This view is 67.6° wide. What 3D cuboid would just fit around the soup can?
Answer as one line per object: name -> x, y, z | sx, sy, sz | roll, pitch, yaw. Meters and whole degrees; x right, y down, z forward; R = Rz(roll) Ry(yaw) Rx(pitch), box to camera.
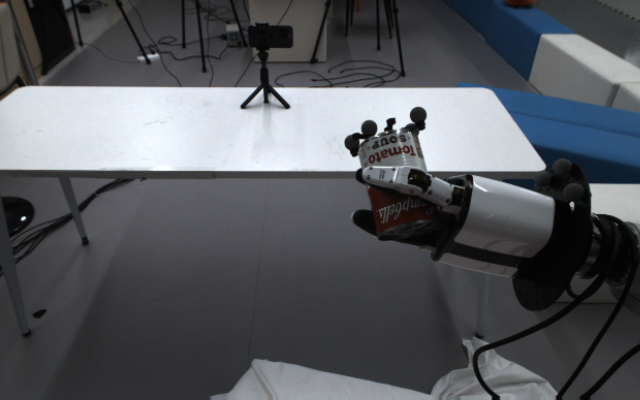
soup can -> 0.085, -0.016, 0.512 | 0.067, 0.067, 0.101 | -8, 74, -14
